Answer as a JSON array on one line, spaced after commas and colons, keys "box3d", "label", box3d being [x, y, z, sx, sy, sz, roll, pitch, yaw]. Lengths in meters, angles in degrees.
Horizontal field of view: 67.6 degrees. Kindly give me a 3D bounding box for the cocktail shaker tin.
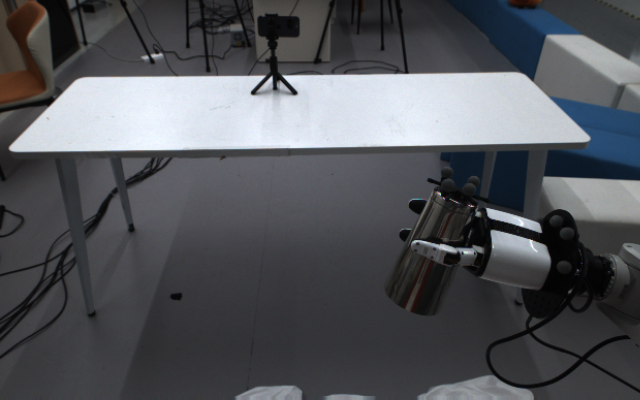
[{"box3d": [0.165, 0.068, 0.699, 0.093, 0.170, 0.093, 15, 21, -6], "label": "cocktail shaker tin"}]
